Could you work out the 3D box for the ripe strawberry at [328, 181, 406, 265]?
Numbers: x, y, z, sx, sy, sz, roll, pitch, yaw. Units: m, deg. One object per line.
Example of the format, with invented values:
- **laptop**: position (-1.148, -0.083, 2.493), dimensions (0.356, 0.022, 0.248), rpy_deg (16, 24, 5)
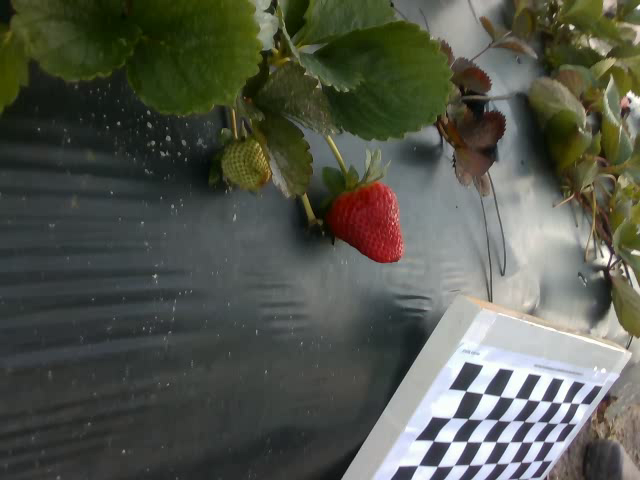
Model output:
- **ripe strawberry**: position (0.029, -0.008, 0.307), dimensions (0.045, 0.055, 0.042), rpy_deg (-30, -24, -15)
